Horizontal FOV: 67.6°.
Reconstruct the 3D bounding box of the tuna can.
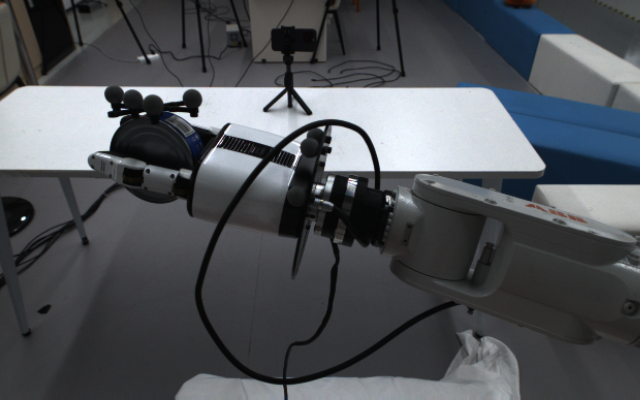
[{"bbox_3d":[-0.155,-0.043,0.474,0.085,0.085,0.034,9,23,9],"label":"tuna can"}]
